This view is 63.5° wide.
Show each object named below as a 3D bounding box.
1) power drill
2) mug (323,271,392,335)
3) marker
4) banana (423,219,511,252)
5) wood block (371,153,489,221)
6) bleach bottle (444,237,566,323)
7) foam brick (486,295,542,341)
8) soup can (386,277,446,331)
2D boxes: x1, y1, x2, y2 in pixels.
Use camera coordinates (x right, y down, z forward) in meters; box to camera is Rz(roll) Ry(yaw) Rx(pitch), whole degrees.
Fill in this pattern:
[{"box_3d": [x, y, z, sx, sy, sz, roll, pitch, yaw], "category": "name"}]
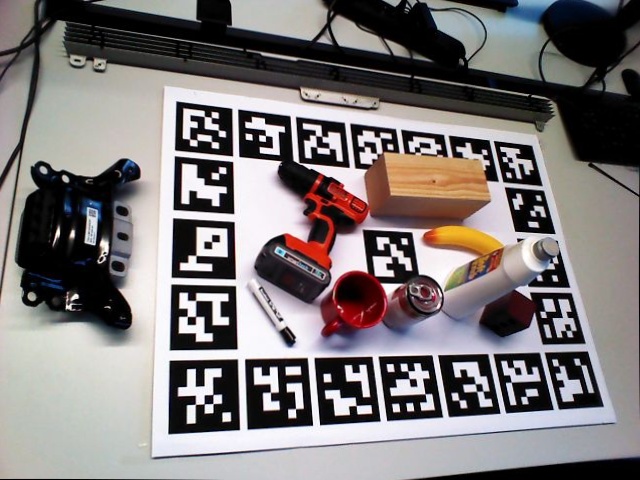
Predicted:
[{"box_3d": [-0.013, -0.026, 0.869, 0.184, 0.058, 0.185, 32, 60, -8], "category": "power drill"}, {"box_3d": [0.048, 0.105, 0.814, 0.093, 0.082, 0.116, 44, 64, 0], "category": "mug"}, {"box_3d": [-0.073, 0.113, 0.806, 0.019, 0.020, 0.121, -28, 80, -25], "category": "marker"}, {"box_3d": [0.285, 0.001, 0.968, 0.197, 0.039, 0.074, 19, 76, -14], "category": "banana"}, {"box_3d": [0.209, -0.094, 0.956, 0.206, 0.091, 0.089, 3, 68, -19], "category": "wood block"}, {"box_3d": [0.292, 0.054, 0.828, 0.068, 0.252, 0.102, 30, 60, -5], "category": "bleach bottle"}, {"box_3d": [0.342, 0.135, 0.913, 0.053, 0.078, 0.051, 34, 58, -1], "category": "foam brick"}, {"box_3d": [0.155, 0.101, 0.837, 0.068, 0.103, 0.067, 9, 61, -18], "category": "soup can"}]
